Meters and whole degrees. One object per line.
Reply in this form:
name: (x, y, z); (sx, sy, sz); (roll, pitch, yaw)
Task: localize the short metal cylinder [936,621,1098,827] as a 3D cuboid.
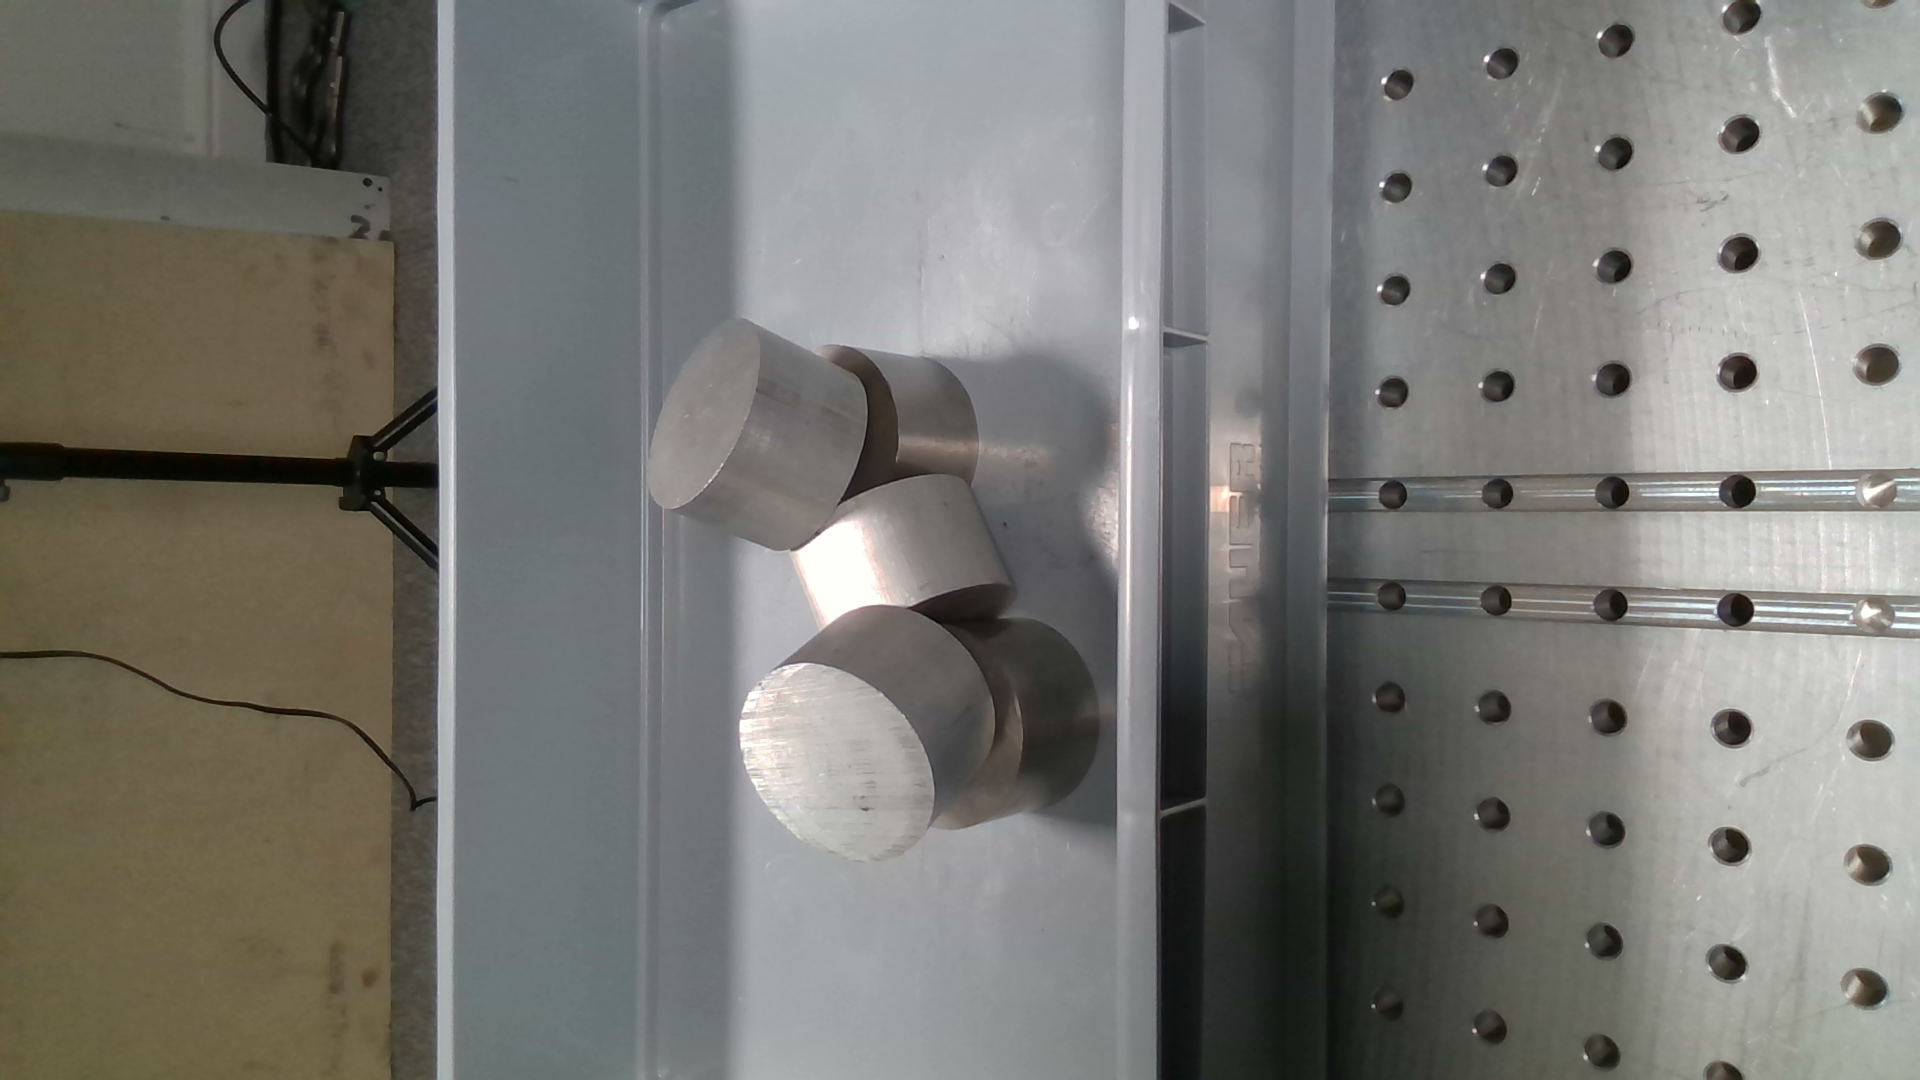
short metal cylinder: (0.009, 0.072, 0.557); (0.080, 0.050, 0.080); (0, 91, 40)

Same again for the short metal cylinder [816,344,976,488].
short metal cylinder: (-0.040, -0.042, 0.597); (0.080, 0.050, 0.080); (0, 91, 40)

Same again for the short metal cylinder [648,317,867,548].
short metal cylinder: (-0.082, -0.041, 0.548); (0.080, 0.050, 0.080); (-30, 48, 41)

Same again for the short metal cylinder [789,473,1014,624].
short metal cylinder: (-0.024, 0.015, 0.565); (0.080, 0.080, 0.050); (-37, 68, 34)

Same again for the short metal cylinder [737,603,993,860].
short metal cylinder: (-0.035, 0.070, 0.509); (0.080, 0.050, 0.080); (11, 117, 23)
